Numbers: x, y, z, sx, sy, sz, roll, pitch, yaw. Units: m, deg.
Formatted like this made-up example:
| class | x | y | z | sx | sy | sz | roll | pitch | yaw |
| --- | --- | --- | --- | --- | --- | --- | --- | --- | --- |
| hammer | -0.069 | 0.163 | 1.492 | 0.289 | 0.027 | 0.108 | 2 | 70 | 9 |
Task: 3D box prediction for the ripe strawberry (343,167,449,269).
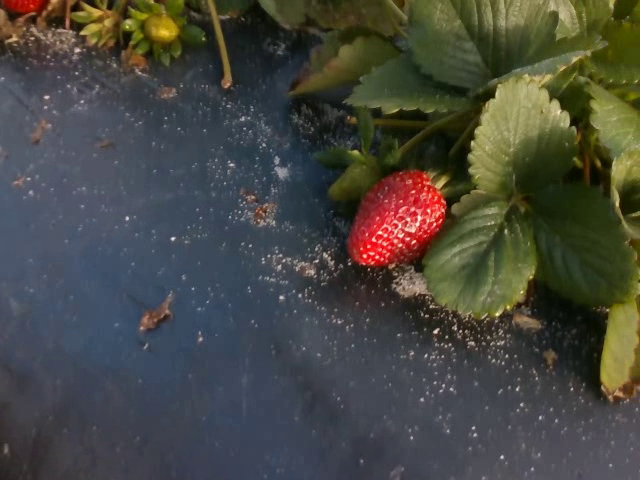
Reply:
| class | x | y | z | sx | sy | sz | roll | pitch | yaw |
| --- | --- | --- | --- | --- | --- | --- | --- | --- | --- |
| ripe strawberry | 0.017 | -0.005 | 0.165 | 0.030 | 0.021 | 0.036 | 30 | 55 | 29 |
